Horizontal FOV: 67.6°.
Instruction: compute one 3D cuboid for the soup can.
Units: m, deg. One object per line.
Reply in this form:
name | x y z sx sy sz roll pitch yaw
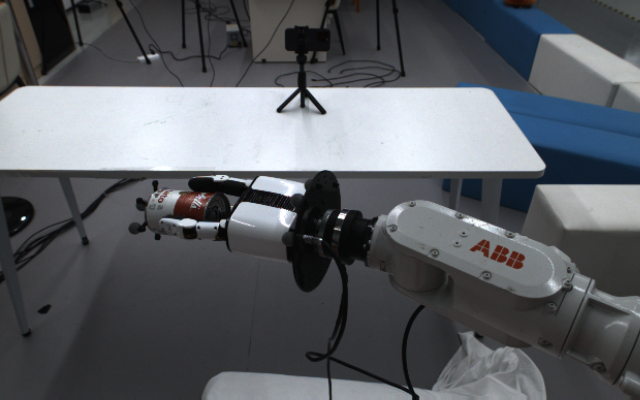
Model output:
soup can | -0.187 0.021 0.691 0.101 0.067 0.067 4 34 20
